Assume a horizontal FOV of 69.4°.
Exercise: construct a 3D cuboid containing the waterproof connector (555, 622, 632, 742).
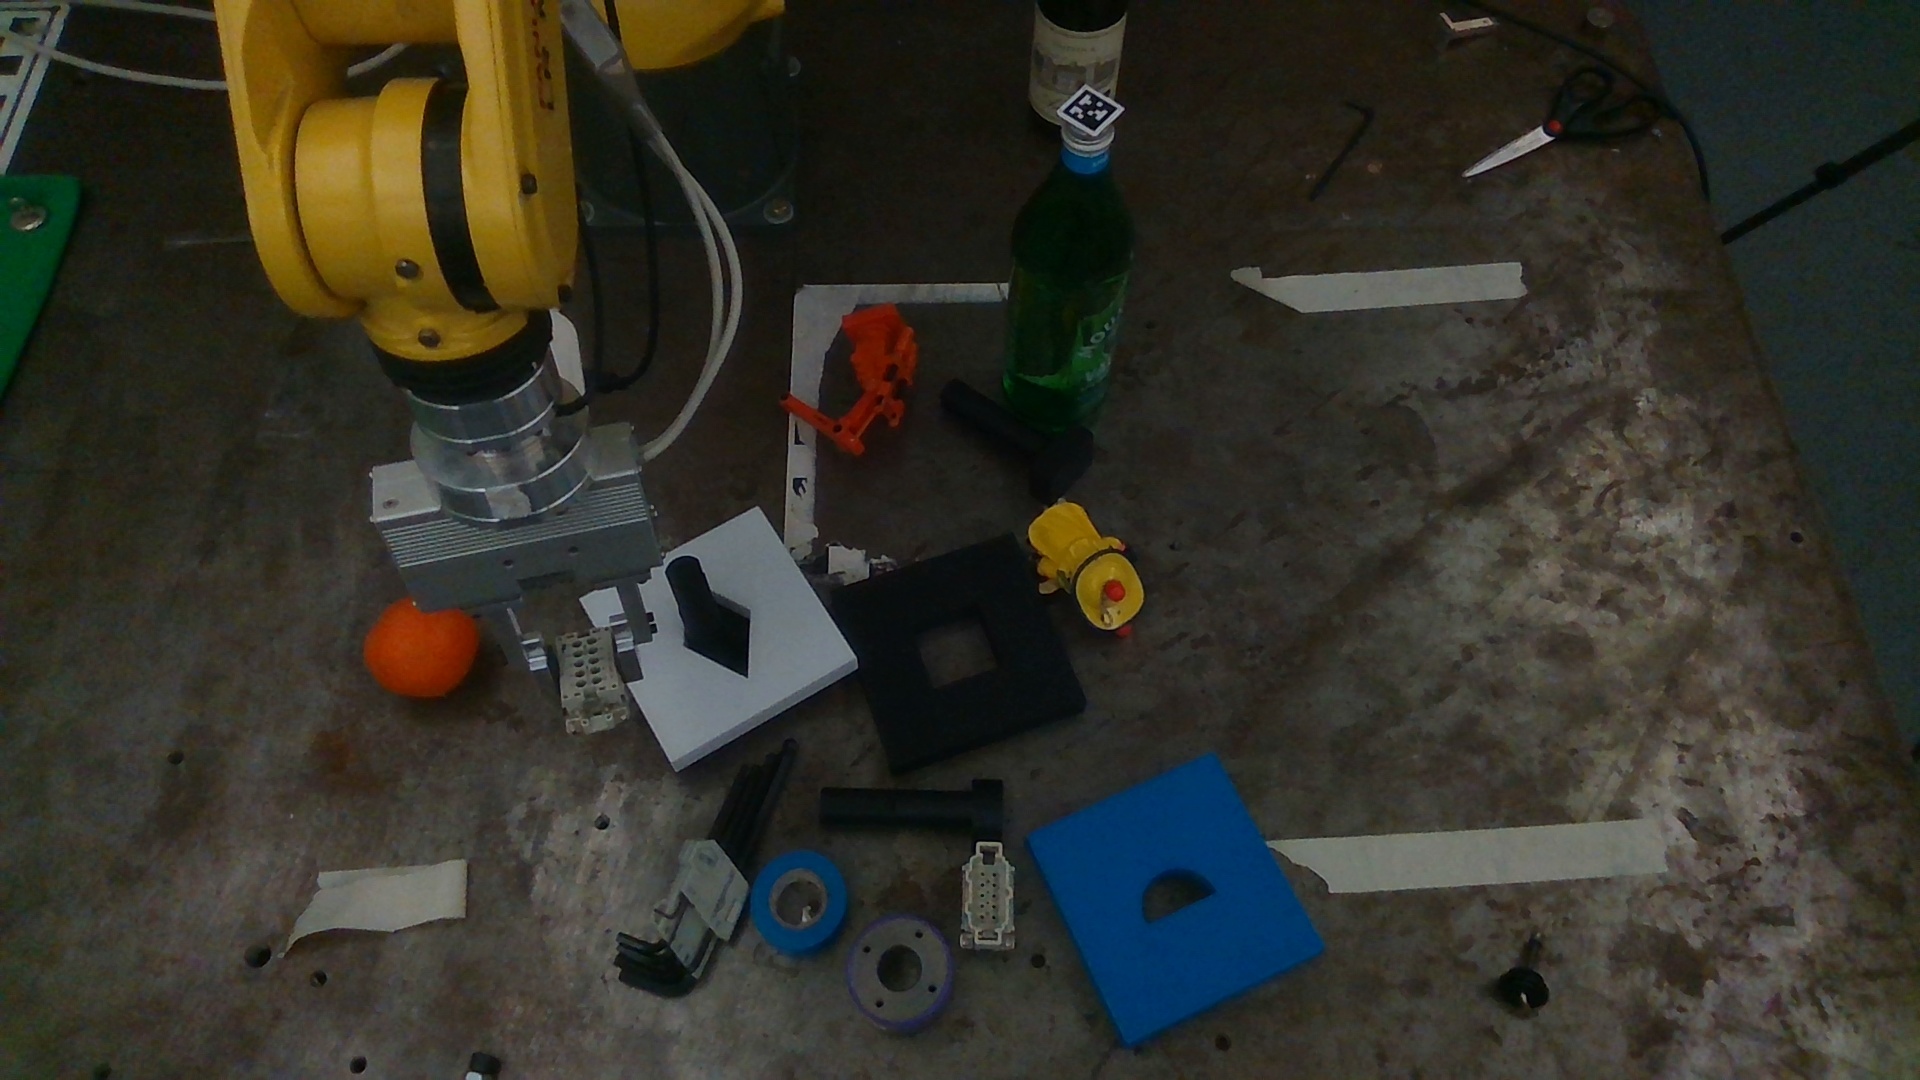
[{"bbox_3d":[-0.204,0.077,0.775,0.037,0.038,0.069,-12,52,-6],"label":"waterproof connector"}]
